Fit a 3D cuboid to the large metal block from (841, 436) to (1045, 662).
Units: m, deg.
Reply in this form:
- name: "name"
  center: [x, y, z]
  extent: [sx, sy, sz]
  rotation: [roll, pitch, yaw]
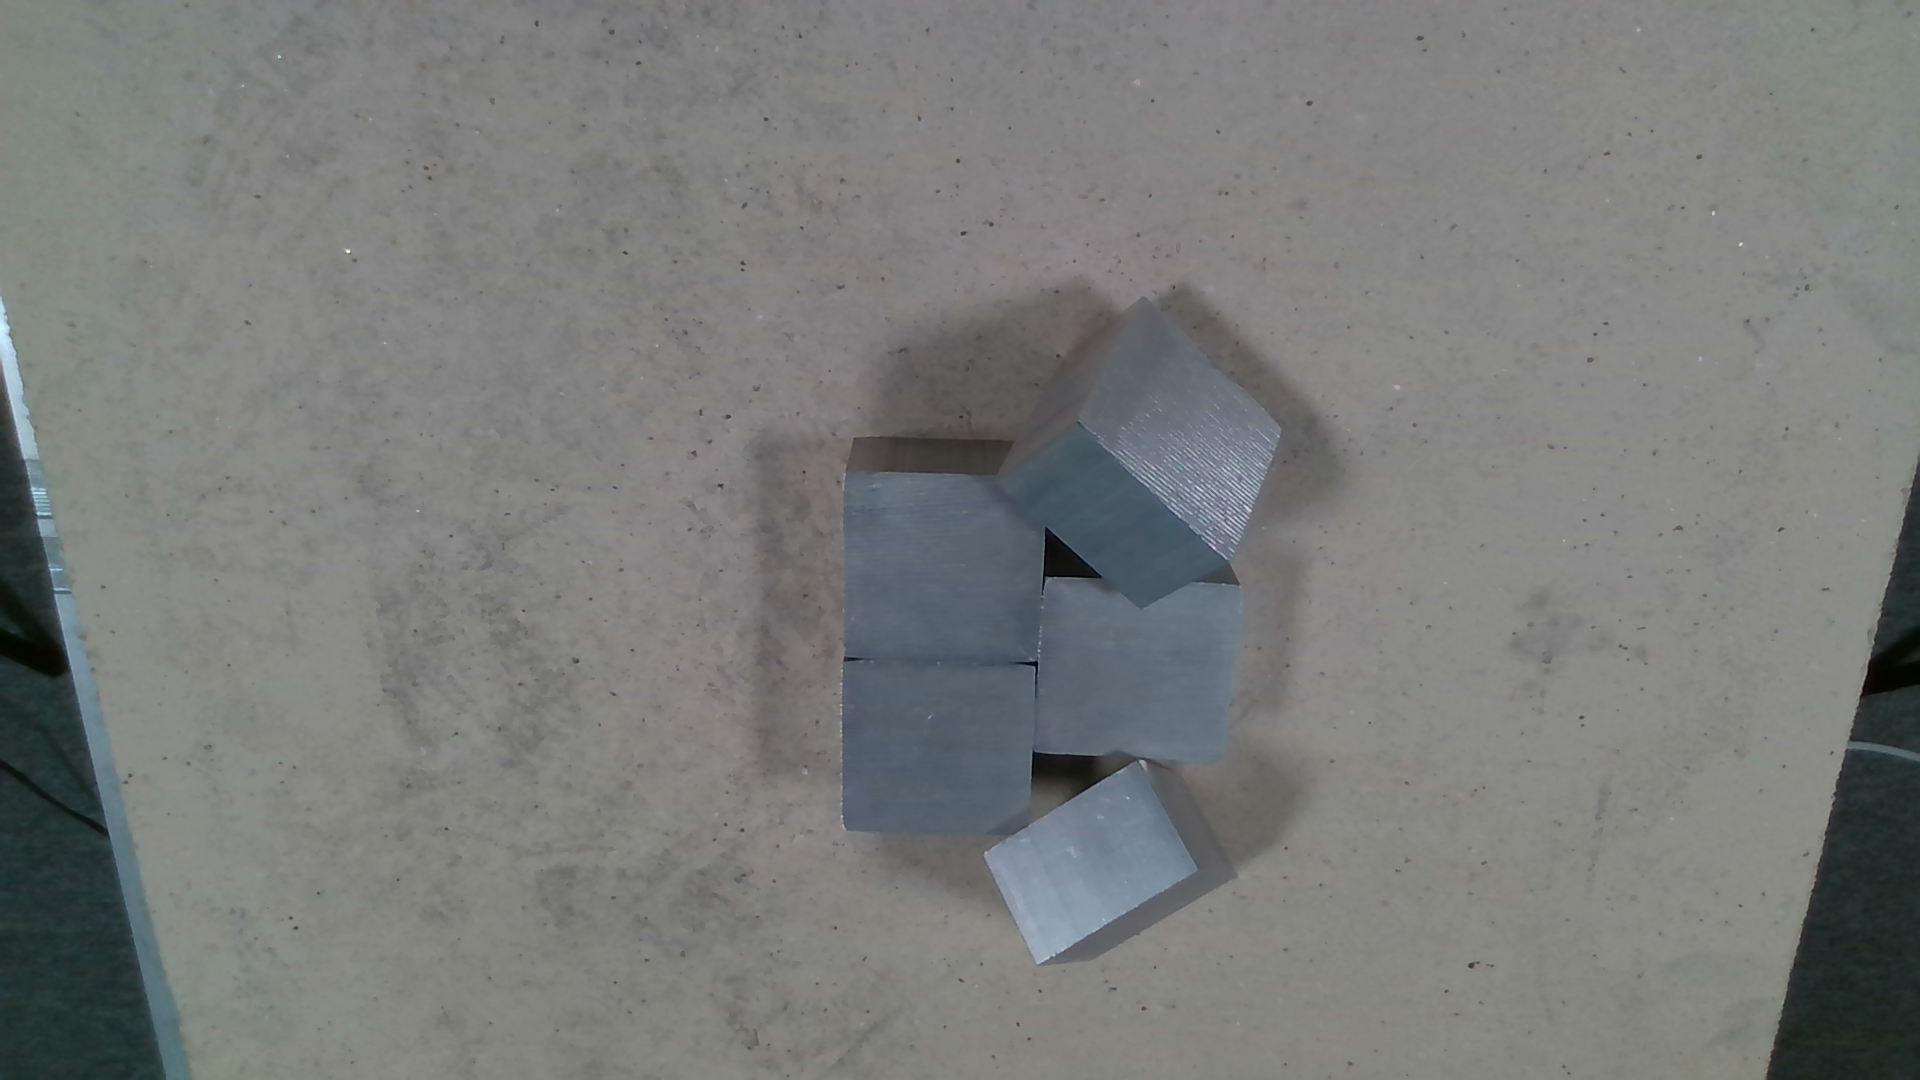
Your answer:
- name: "large metal block"
  center: [-0.007, 0.003, 0.572]
  extent: [0.080, 0.050, 0.080]
  rotation: [1, 110, 0]

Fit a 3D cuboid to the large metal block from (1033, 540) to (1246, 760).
- name: "large metal block"
  center: [0.073, 0.045, 0.588]
  extent: [0.080, 0.050, 0.080]
  rotation: [3, 110, -1]

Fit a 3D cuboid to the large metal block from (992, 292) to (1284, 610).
- name: "large metal block"
  center: [0.071, -0.034, 0.535]
  extent: [0.080, 0.080, 0.050]
  rotation: [41, 140, -13]

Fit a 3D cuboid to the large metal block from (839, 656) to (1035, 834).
- name: "large metal block"
  center: [-0.010, 0.079, 0.599]
  extent: [0.080, 0.050, 0.080]
  rotation: [1, 110, 0]

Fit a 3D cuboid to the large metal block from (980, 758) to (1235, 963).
- name: "large metal block"
  center: [0.067, 0.141, 0.601]
  extent: [0.080, 0.080, 0.050]
  rotation: [-34, 66, 11]
